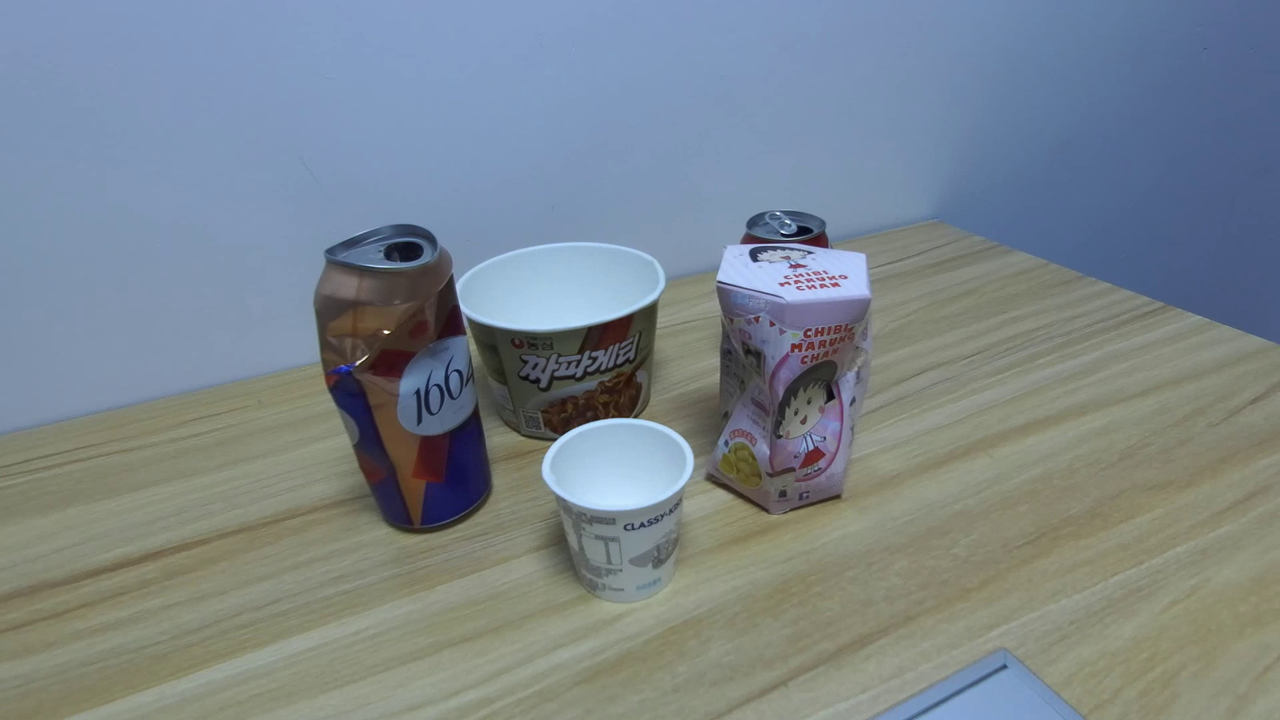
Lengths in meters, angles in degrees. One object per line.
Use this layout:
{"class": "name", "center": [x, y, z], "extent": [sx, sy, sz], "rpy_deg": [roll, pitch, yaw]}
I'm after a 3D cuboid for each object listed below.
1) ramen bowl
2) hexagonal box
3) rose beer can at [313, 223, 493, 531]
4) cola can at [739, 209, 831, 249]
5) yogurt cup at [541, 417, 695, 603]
{"class": "ramen bowl", "center": [-0.050, -0.013, 0.490], "extent": [0.140, 0.095, 0.140], "rpy_deg": [-2, 29, 1]}
{"class": "hexagonal box", "center": [0.079, 0.010, 0.398], "extent": [0.093, 0.135, 0.089], "rpy_deg": [20, 36, 33]}
{"class": "rose beer can", "center": [-0.125, 0.014, 0.384], "extent": [0.068, 0.162, 0.073], "rpy_deg": [-9, 31, -12]}
{"class": "cola can", "center": [0.101, -0.048, 0.517], "extent": [0.066, 0.117, 0.066], "rpy_deg": [4, 31, 11]}
{"class": "yogurt cup", "center": [-0.009, 0.077, 0.354], "extent": [0.072, 0.068, 0.072], "rpy_deg": [-2, 30, 2]}
